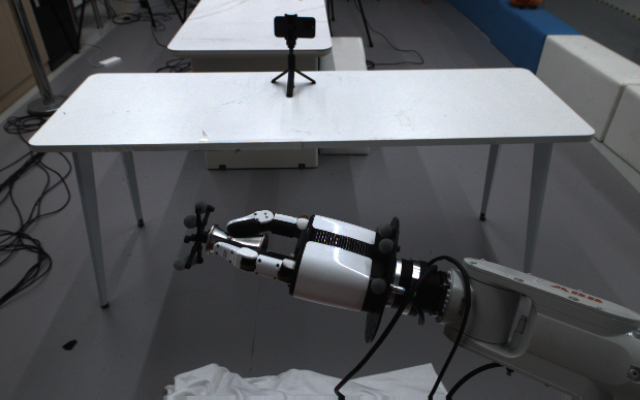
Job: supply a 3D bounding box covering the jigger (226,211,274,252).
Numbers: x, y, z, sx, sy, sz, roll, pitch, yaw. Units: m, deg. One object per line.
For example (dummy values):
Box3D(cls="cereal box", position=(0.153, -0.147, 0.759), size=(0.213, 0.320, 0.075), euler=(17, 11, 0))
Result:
Box3D(cls="jigger", position=(-0.097, 0.054, 0.609), size=(0.071, 0.043, 0.043), euler=(12, 36, 5))
